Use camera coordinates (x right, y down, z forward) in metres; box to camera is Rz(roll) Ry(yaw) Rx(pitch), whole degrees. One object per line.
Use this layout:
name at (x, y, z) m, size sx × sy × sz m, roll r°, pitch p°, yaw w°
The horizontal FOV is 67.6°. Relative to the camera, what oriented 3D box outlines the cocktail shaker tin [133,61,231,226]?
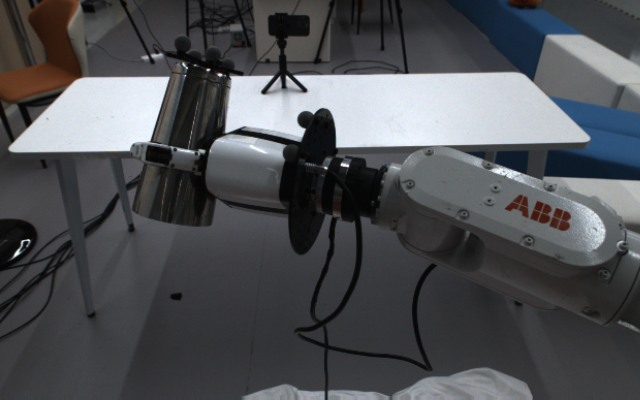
cocktail shaker tin at (-0.151, -0.062, 0.555) m, size 0.093 × 0.170 × 0.093 m, roll 13°, pitch 4°, yaw -1°
